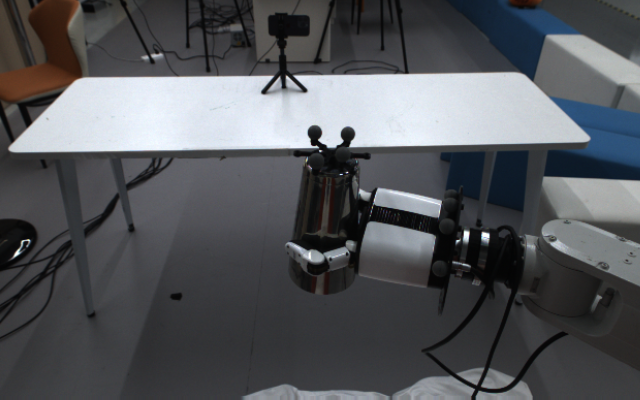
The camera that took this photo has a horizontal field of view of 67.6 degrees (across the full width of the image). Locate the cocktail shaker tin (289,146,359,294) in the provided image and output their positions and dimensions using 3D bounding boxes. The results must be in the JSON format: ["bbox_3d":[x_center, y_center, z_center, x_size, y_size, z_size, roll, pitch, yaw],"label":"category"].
[{"bbox_3d":[0.011,0.024,0.609,0.093,0.170,0.093,3,34,-2],"label":"cocktail shaker tin"}]
